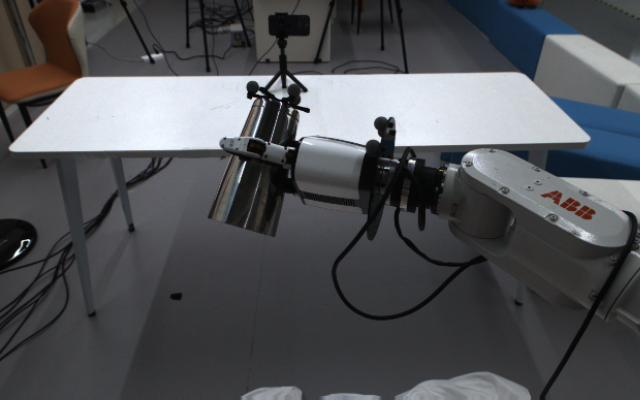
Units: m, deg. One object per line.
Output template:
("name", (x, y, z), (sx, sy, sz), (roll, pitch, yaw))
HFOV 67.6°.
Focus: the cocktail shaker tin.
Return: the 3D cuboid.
("cocktail shaker tin", (-0.082, -0.044, 0.648), (0.093, 0.170, 0.093), (15, -6, 2))
